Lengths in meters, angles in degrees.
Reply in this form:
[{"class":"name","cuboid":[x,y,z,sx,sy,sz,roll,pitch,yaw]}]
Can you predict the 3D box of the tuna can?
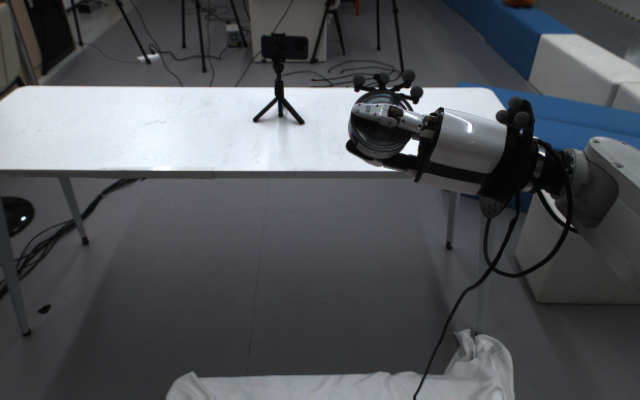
[{"class":"tuna can","cuboid":[0.080,-0.103,0.637,0.085,0.034,0.085,1,72,-3]}]
